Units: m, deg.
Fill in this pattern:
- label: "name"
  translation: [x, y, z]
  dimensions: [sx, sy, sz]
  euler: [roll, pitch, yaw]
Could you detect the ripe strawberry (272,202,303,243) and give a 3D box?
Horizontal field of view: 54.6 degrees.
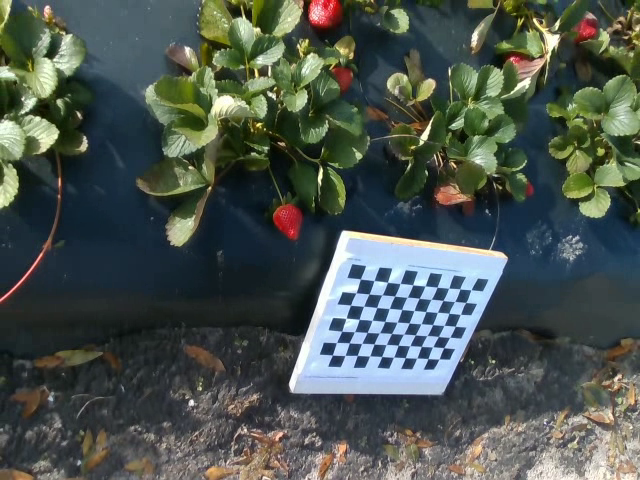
- label: "ripe strawberry"
  translation: [-0.031, -0.020, 0.673]
  dimensions: [0.041, 0.047, 0.041]
  euler: [-15, -24, -3]
